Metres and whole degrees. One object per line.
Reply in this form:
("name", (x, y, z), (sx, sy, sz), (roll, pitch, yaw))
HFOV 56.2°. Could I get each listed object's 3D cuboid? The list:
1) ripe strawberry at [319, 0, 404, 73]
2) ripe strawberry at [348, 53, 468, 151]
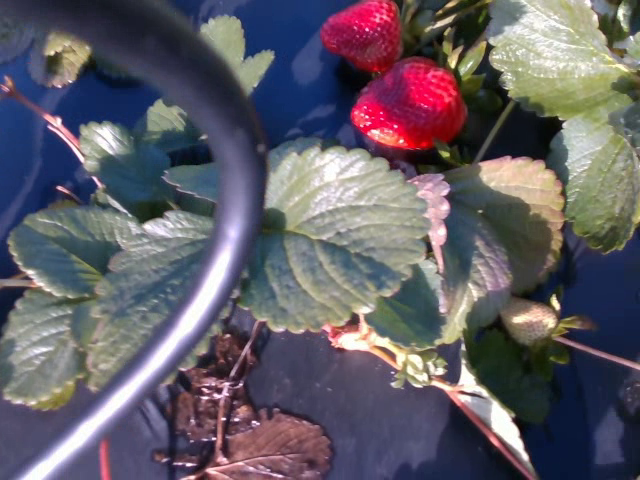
("ripe strawberry", (0.020, -0.107, 0.301), (0.051, 0.037, 0.043), (-27, 33, -25))
("ripe strawberry", (0.039, -0.062, 0.275), (0.057, 0.046, 0.052), (-21, 38, -21))
